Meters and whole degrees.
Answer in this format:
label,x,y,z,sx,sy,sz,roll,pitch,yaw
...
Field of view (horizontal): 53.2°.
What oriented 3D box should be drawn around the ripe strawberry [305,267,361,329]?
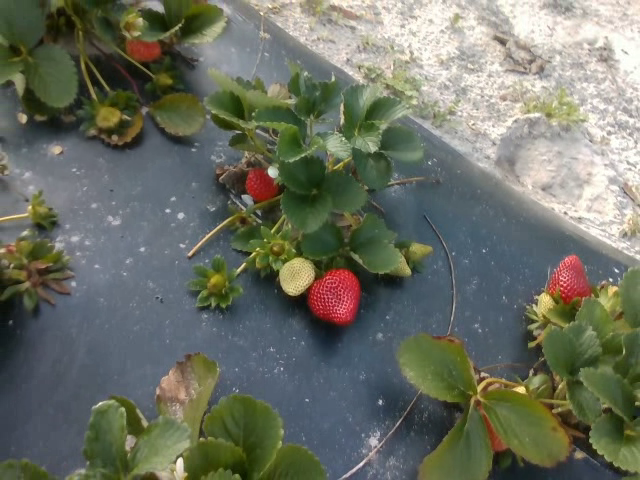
label,x,y,z,sx,sy,sz,roll,pitch,yaw
ripe strawberry,0.013,0.053,0.530,0.051,0.048,0.055,-32,27,10
